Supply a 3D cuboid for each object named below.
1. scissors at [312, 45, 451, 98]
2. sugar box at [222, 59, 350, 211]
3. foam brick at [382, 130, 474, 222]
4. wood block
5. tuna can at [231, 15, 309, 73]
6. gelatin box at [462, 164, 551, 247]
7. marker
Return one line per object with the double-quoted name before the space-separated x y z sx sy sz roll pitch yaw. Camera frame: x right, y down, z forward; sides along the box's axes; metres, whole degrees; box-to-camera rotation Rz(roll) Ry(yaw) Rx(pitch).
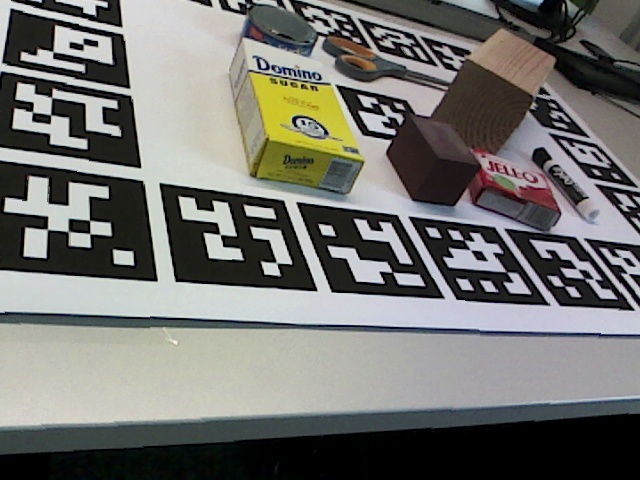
"scissors" 0.089 -0.207 0.803 0.202 0.016 0.088 9 42 -19
"sugar box" -0.037 -0.105 0.591 0.092 0.045 0.177 9 42 -23
"foam brick" 0.105 -0.063 0.614 0.052 0.051 0.078 6 44 -25
"wood block" 0.222 -0.177 0.792 0.090 0.091 0.206 33 38 8
"tuna can" -0.059 -0.222 0.715 0.085 0.034 0.086 16 40 -14
"gelatin box" 0.195 -0.038 0.662 0.089 0.030 0.073 18 40 -12
"marker" 0.280 -0.056 0.738 0.019 0.019 0.121 6 45 -25
